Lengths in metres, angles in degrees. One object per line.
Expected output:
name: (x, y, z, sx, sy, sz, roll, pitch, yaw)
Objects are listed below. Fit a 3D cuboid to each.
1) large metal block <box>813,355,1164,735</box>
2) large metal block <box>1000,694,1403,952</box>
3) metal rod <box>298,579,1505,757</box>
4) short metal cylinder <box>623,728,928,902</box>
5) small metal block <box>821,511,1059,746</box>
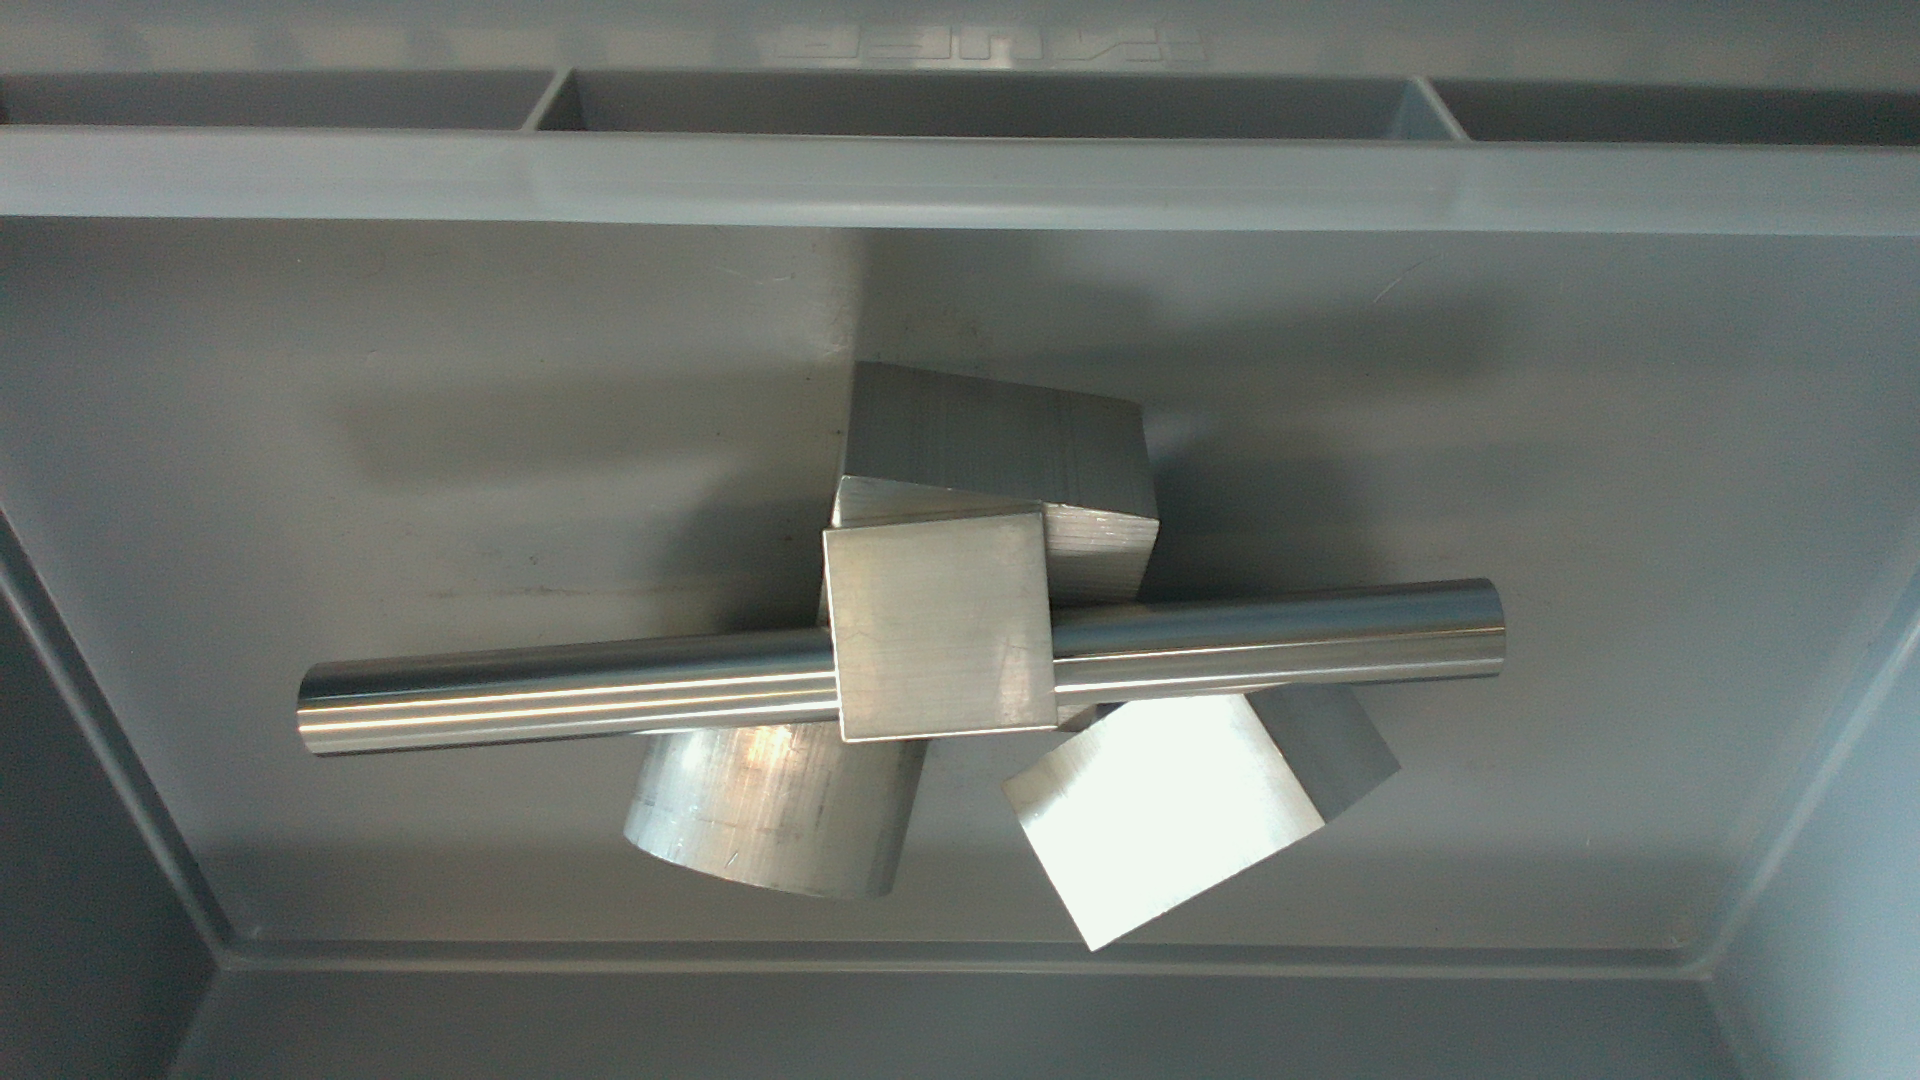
large metal block: (0.003, 0.003, 0.375, 0.080, 0.050, 0.080, 8, 130, -7)
large metal block: (0.072, 0.069, 0.404, 0.080, 0.050, 0.080, -37, 165, 27)
metal rod: (-0.018, 0.033, 0.351, 0.300, 0.025, 0.025, -4, 130, 4)
short metal cylinder: (-0.053, 0.069, 0.403, 0.080, 0.080, 0.050, 15, 86, -12)
small metal block: (-0.004, 0.019, 0.324, 0.050, 0.025, 0.050, -4, 95, 4)
